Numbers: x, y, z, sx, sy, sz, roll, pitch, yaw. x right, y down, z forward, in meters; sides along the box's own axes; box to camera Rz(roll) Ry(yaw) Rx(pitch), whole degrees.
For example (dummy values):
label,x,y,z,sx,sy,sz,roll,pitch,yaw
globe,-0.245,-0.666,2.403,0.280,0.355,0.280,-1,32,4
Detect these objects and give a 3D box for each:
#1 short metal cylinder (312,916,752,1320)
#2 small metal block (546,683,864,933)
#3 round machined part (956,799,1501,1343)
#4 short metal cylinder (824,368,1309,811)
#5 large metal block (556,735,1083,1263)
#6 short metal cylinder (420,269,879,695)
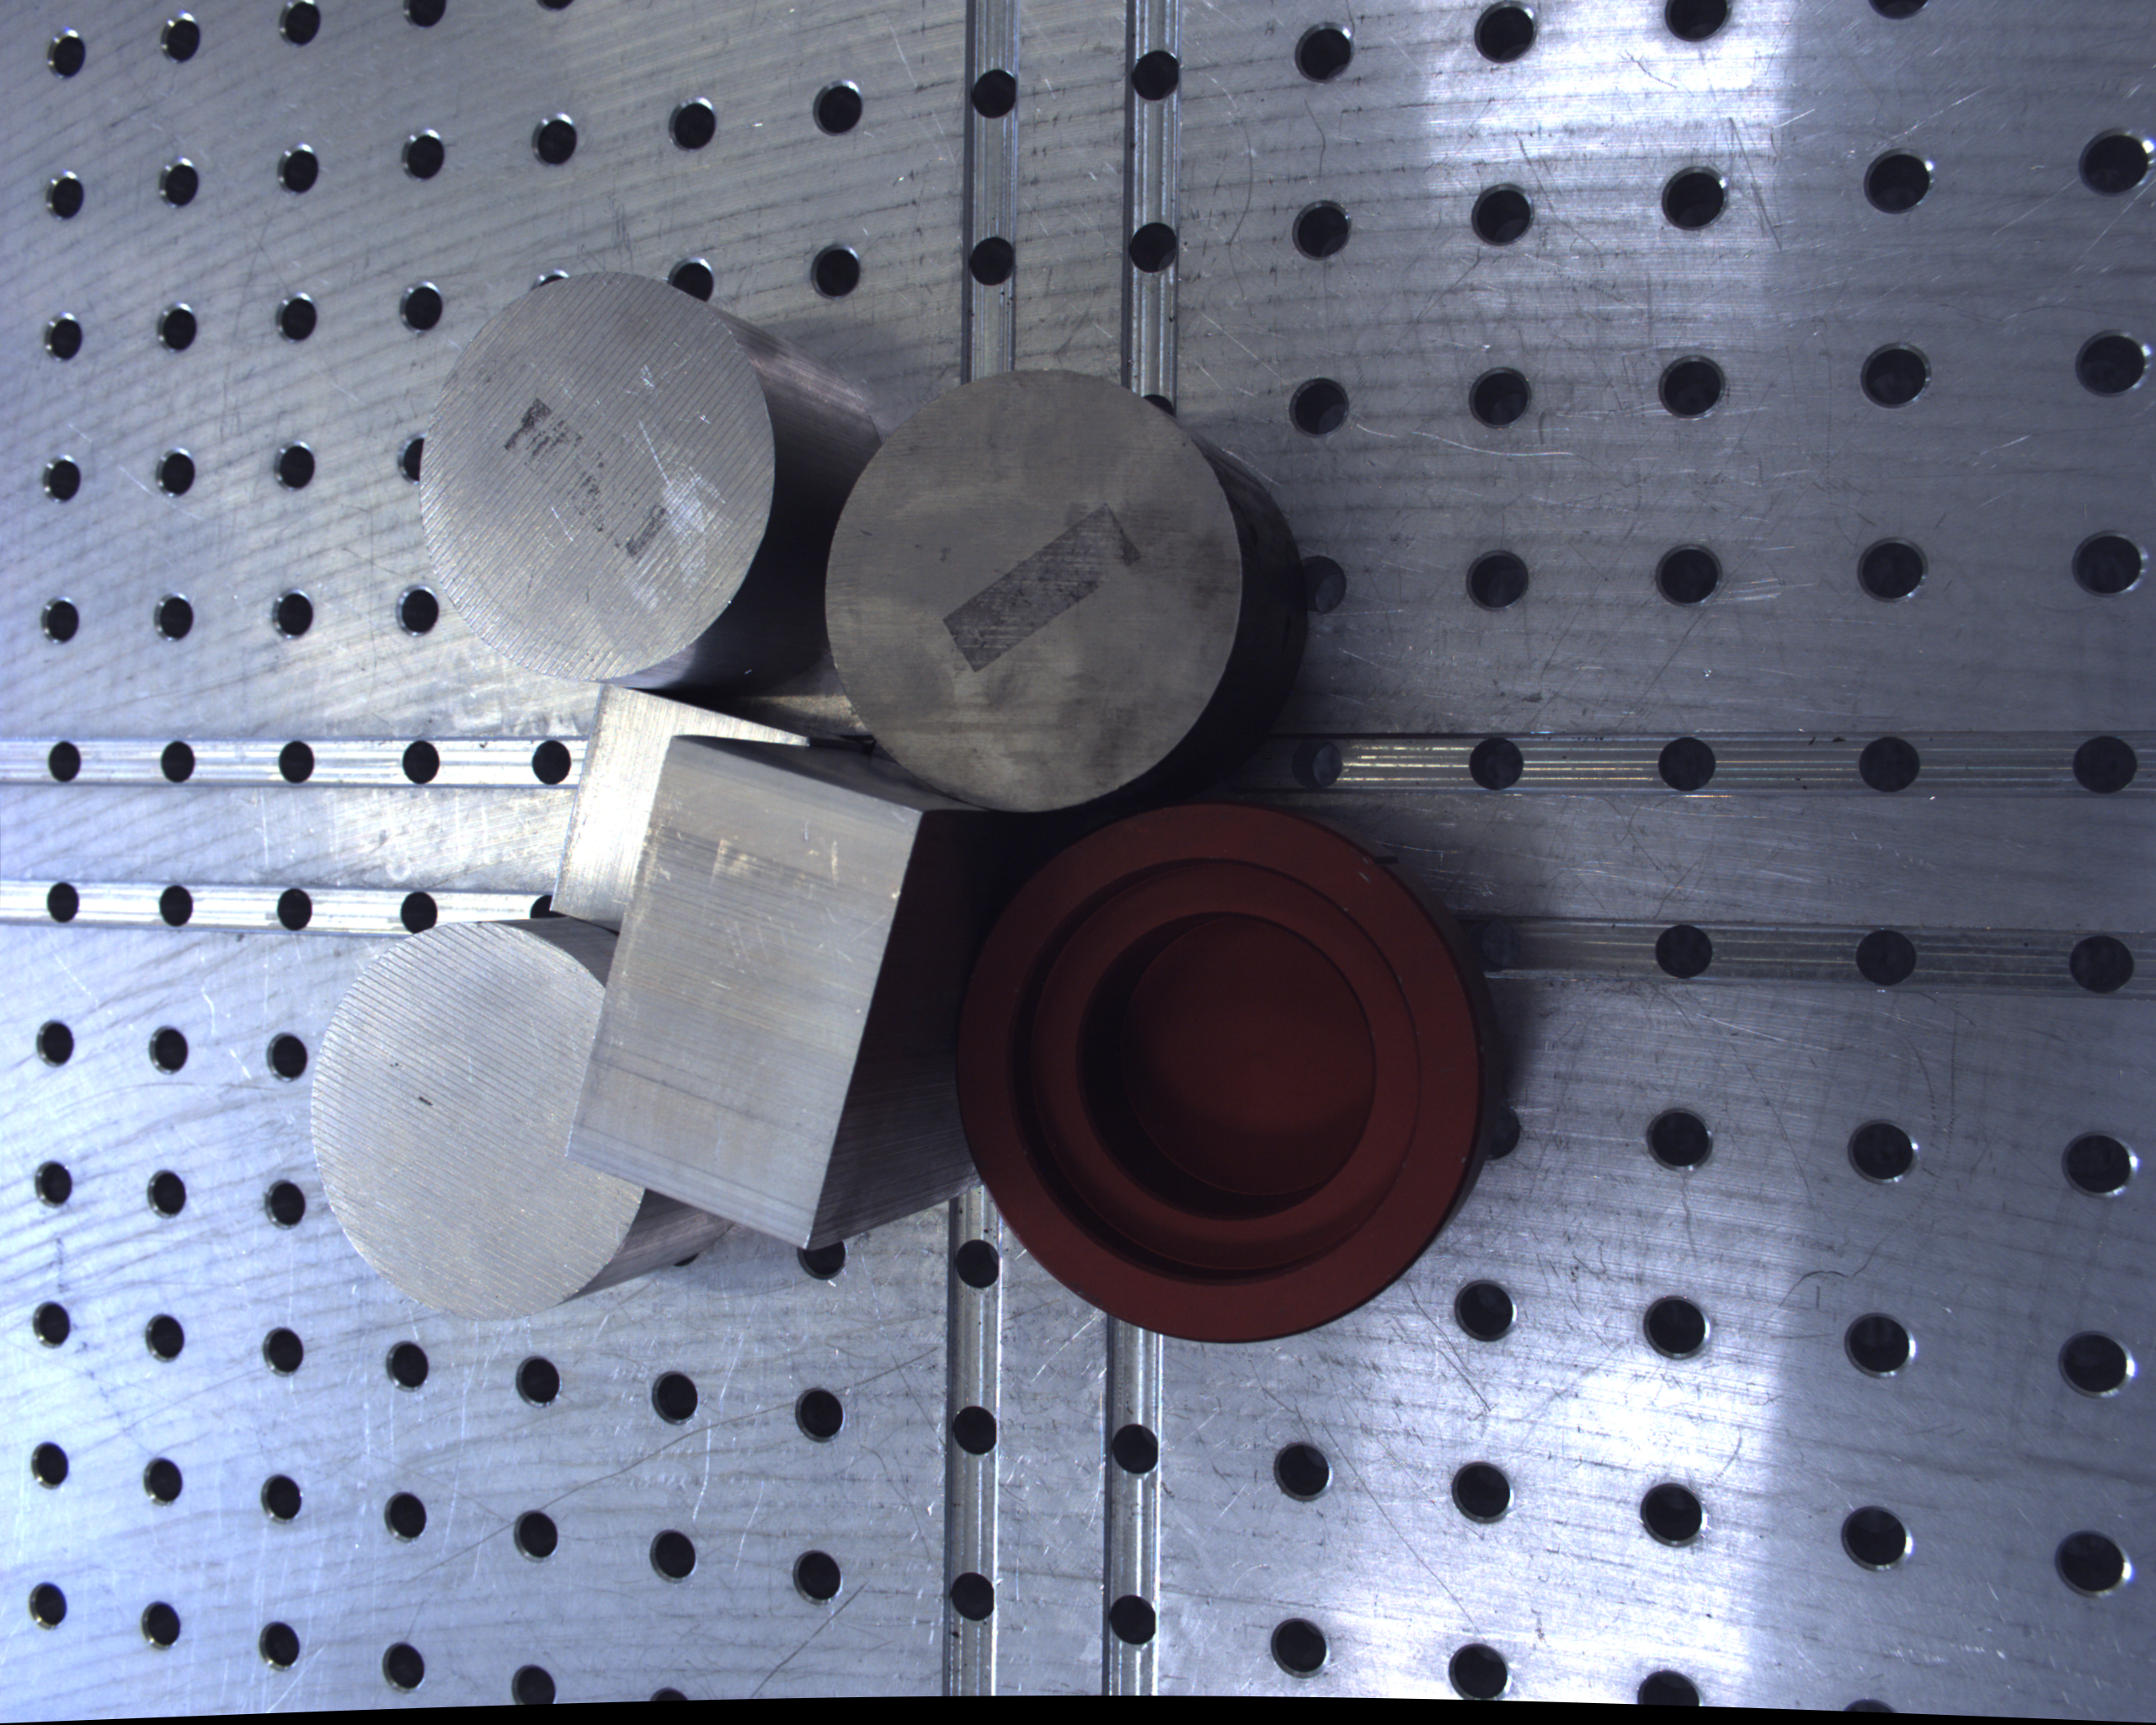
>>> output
label,x,y,z,sx,sy,sz,roll,pitch,yaw
short metal cylinder,-0.111,0.051,0.438,0.080,0.050,0.080,0,90,20
small metal block,-0.079,-0.008,0.440,0.050,0.025,0.050,16,95,19
round machined part,0.030,0.037,0.393,0.098,0.042,0.097,0,90,20
short metal cylinder,-0.001,-0.049,0.399,0.080,0.050,0.080,0,90,20
large metal block,-0.046,0.023,0.396,0.050,0.080,0.080,17,96,19
short metal cylinder,-0.086,-0.076,0.429,0.080,0.050,0.080,0,90,20
